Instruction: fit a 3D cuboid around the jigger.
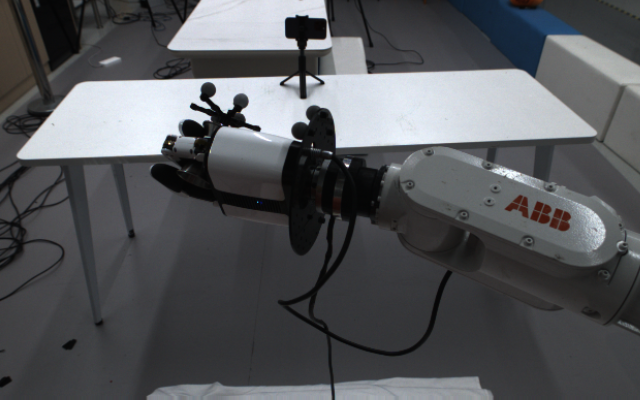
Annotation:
[{"bbox_3d":[-0.127,-0.052,0.554,0.043,0.043,0.071,15,71,18],"label":"jigger"}]
